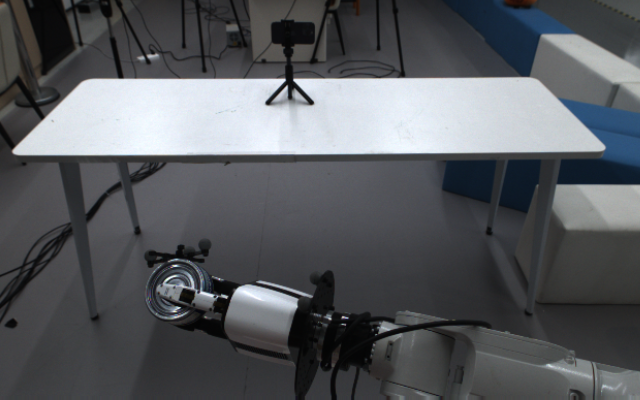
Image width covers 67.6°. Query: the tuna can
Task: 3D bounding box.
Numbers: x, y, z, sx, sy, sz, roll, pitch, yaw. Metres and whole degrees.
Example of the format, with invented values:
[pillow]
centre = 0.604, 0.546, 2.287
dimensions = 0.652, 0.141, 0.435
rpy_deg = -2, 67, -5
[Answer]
[tuna can]
centre = -0.185, 0.129, 0.643
dimensions = 0.085, 0.034, 0.085
rpy_deg = -4, 68, 9
